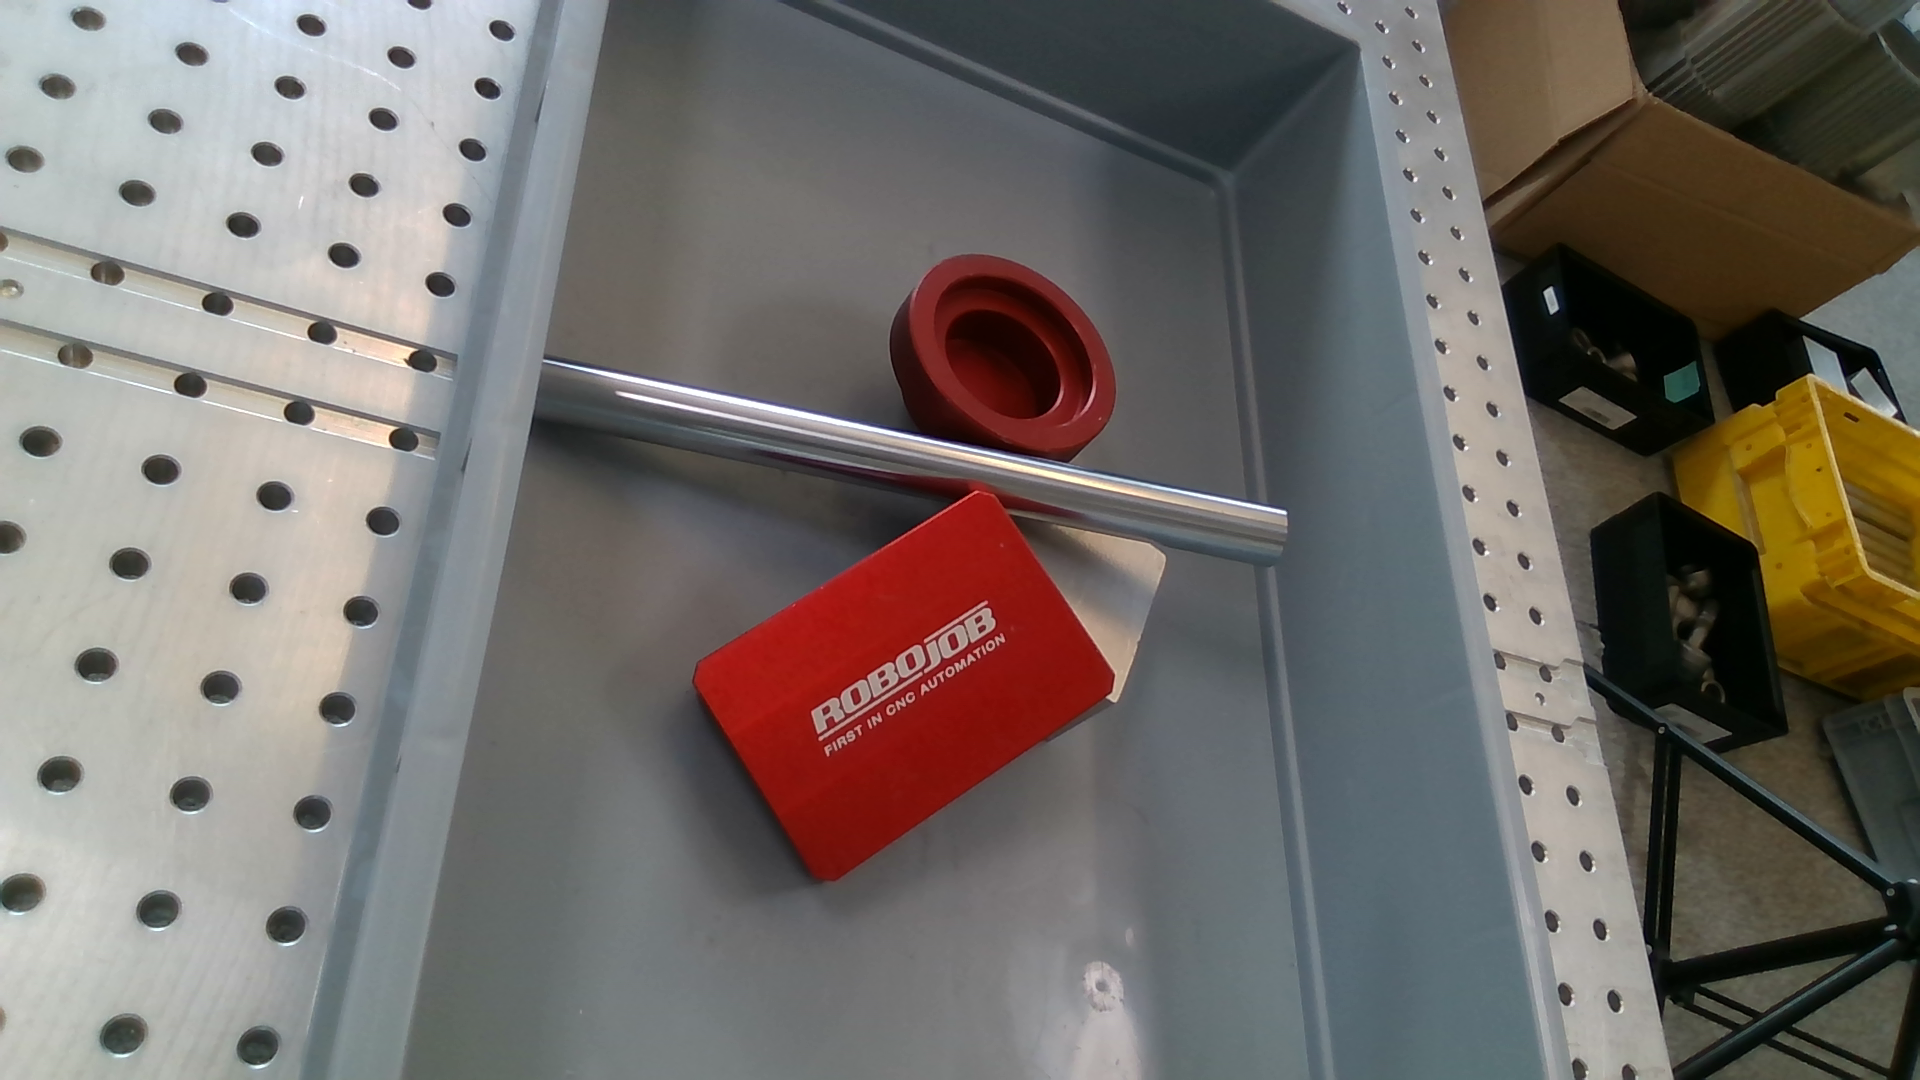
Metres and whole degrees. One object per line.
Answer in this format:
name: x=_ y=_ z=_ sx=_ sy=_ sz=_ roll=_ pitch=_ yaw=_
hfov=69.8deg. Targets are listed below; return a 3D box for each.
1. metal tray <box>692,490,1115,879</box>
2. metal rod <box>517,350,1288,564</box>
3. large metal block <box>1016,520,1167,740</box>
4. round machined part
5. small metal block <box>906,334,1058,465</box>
metal tray: x=-0.021 y=0.052 z=0.508 sx=0.130 sy=0.030 sz=0.090 roll=-32 pitch=83 yaw=-14
metal rod: x=-0.017 y=-0.030 z=0.539 sx=0.300 sy=0.025 sz=0.025 roll=11 pitch=59 yaw=-8
large metal block: x=0.031 y=0.024 z=0.576 sx=0.080 sy=0.050 sz=0.080 roll=34 pitch=52 yaw=-12
round machined part: x=0.014 y=-0.070 z=0.585 sx=0.098 sy=0.042 sz=0.098 roll=16 pitch=55 yaw=-23
small metal block: x=0.010 y=-0.065 z=0.627 sx=0.050 sy=0.025 sz=0.050 roll=-9 pitch=70 yaw=-35
